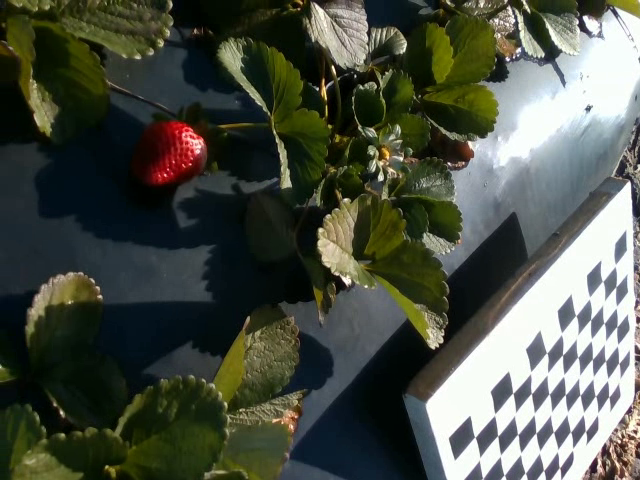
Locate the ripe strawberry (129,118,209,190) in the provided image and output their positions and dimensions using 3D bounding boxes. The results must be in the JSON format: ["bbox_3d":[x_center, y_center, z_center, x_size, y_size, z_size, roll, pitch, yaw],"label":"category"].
[{"bbox_3d":[-0.084,-0.046,0.345,0.044,0.042,0.056,3,43,28],"label":"ripe strawberry"}]
